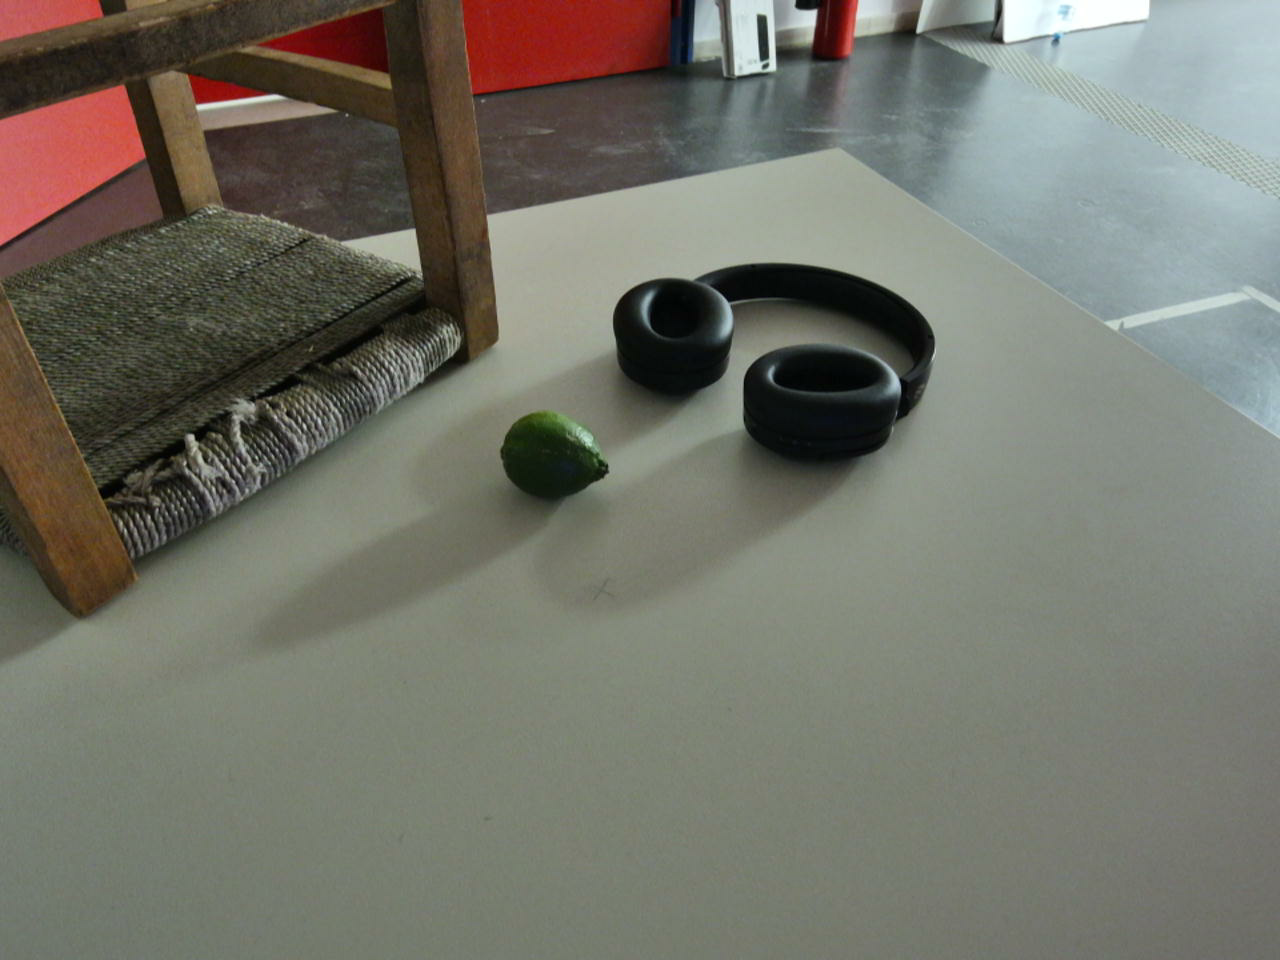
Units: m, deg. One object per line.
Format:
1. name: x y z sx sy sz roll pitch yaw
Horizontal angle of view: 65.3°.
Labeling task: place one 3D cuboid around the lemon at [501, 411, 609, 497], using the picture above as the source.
1. lemon: -0.053 -0.016 0.590 0.057 0.051 0.054 -19 43 -22
